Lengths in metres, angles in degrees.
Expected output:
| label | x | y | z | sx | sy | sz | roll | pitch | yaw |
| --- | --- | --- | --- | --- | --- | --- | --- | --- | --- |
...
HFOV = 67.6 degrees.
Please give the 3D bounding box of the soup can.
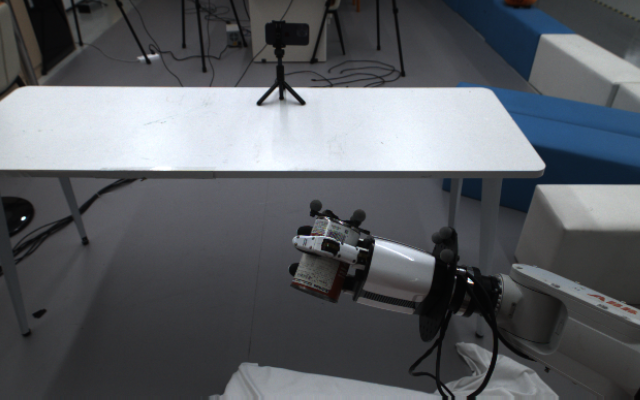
| label | x | y | z | sx | sy | sz | roll | pitch | yaw |
| --- | --- | --- | --- | --- | --- | --- | --- | --- | --- |
| soup can | 0.010 | 0.081 | 0.661 | 0.067 | 0.067 | 0.101 | 15 | 75 | 18 |
